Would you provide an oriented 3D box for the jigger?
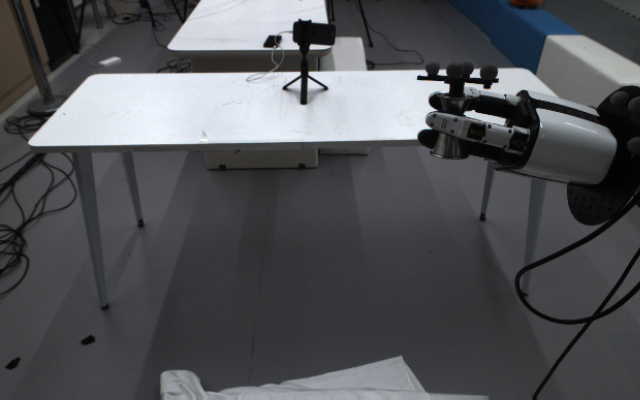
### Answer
[{"bbox_3d":[0.149,-0.085,0.554,0.043,0.071,0.043,1,20,0],"label":"jigger"}]
